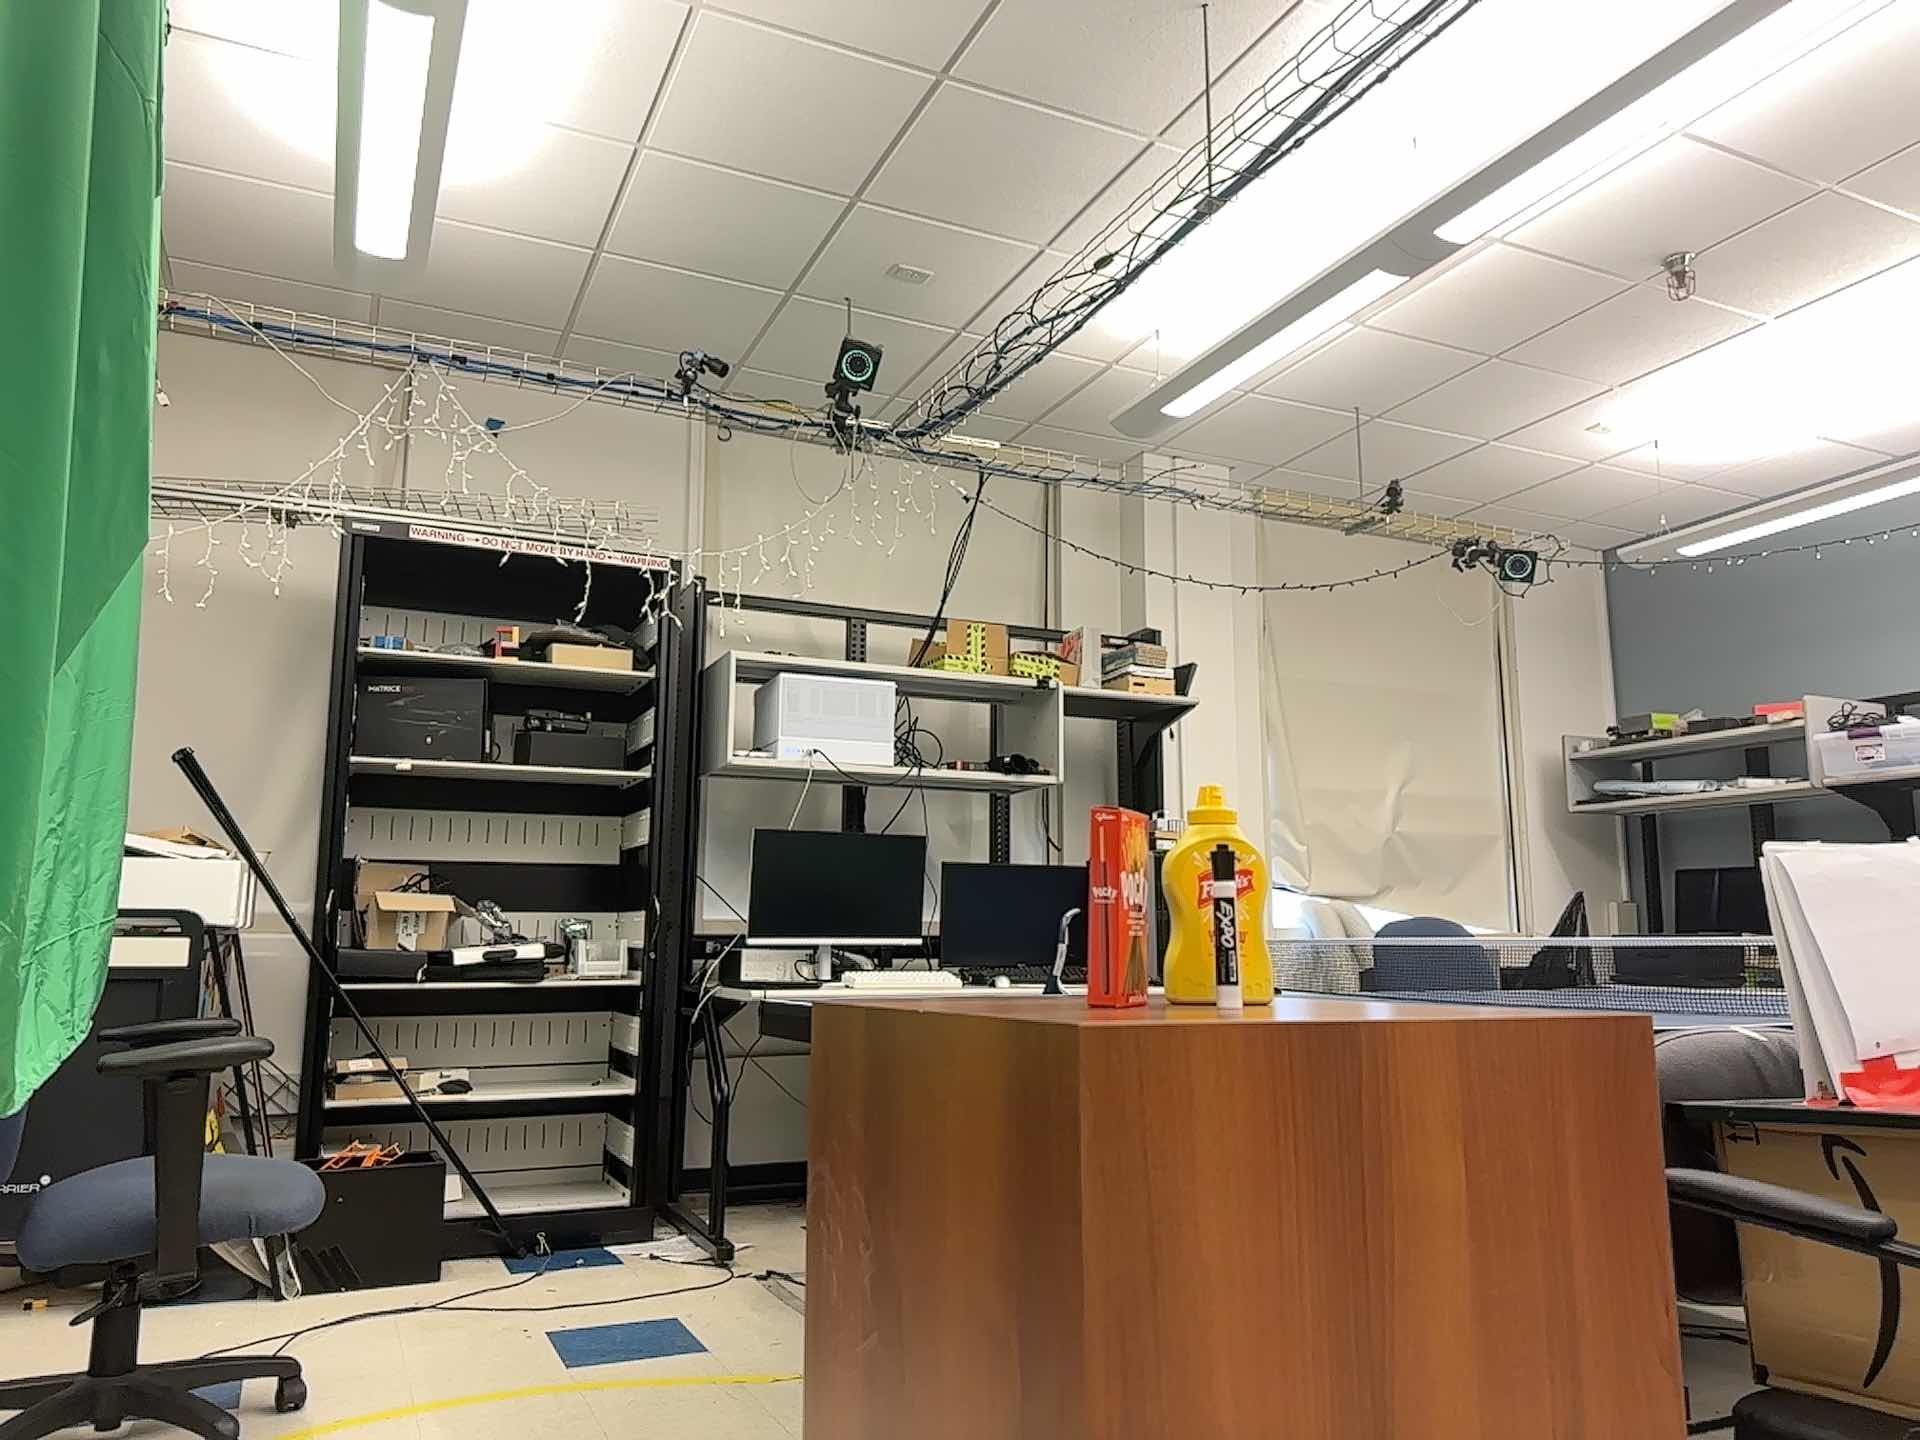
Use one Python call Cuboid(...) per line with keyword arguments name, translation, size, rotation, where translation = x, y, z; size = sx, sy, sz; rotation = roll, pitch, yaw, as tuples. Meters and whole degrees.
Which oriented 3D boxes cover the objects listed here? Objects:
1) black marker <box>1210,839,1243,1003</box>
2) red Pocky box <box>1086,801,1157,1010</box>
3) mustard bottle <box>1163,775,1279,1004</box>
Cuboid(name="black marker", translation=(0.198, 0.149, 1.005), size=(0.020, 0.121, 0.020), rotation=(0, -12, 0))
Cuboid(name="red Pocky box", translation=(0.124, 0.141, 1.029), size=(0.028, 0.155, 0.083), rotation=(-4, -8, 29))
Cuboid(name="mustard bottle", translation=(0.211, 0.137, 1.101), size=(0.092, 0.184, 0.054), rotation=(1, -8, -5))
